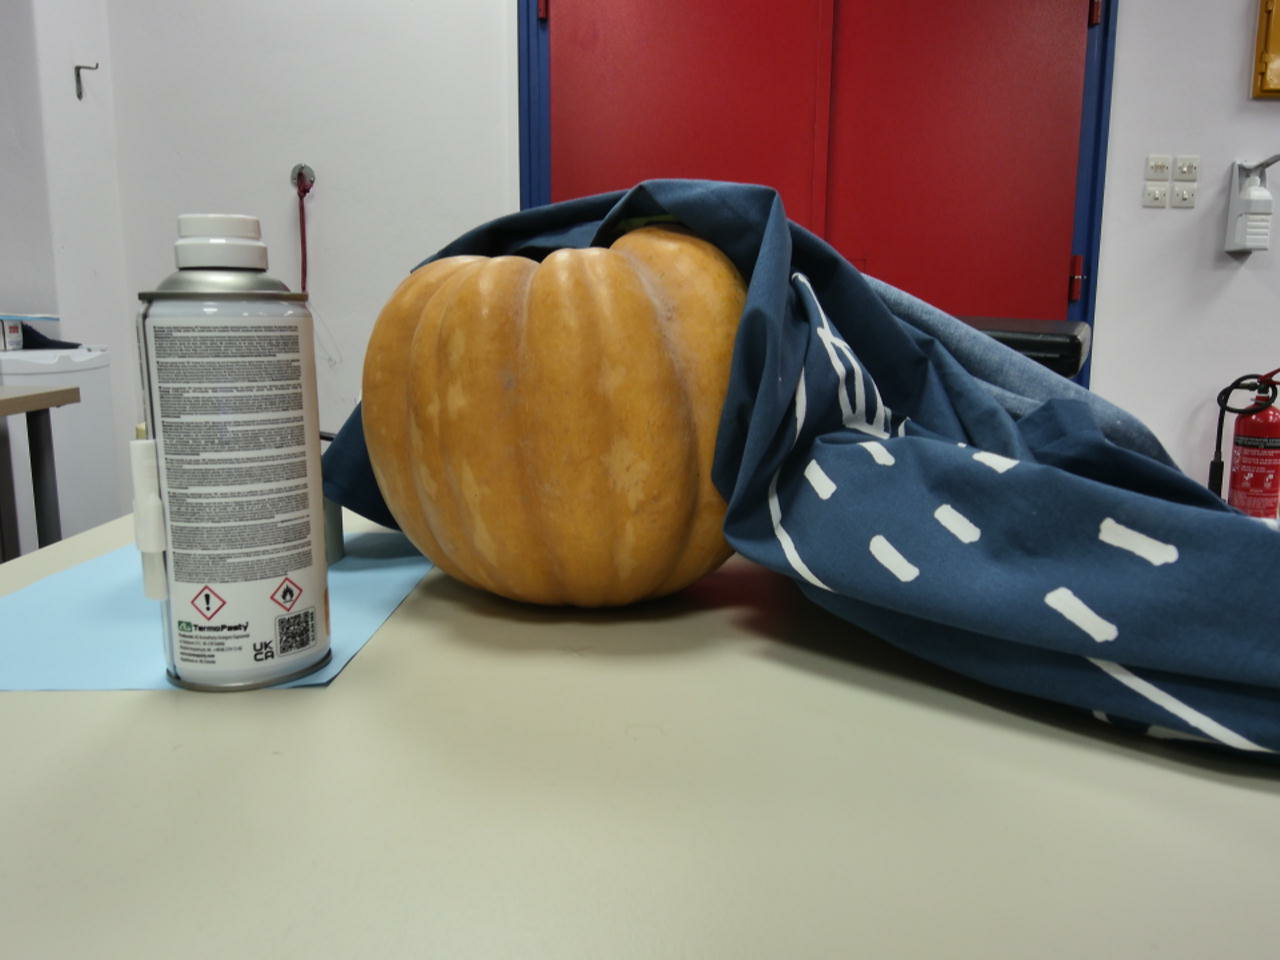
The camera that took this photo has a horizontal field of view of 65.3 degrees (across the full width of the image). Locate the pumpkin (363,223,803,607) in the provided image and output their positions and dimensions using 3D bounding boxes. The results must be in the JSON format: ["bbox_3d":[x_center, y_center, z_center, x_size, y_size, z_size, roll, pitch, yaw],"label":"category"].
[{"bbox_3d":[-0.026,-0.033,0.531,0.230,0.194,0.230,0,6,0],"label":"pumpkin"}]
